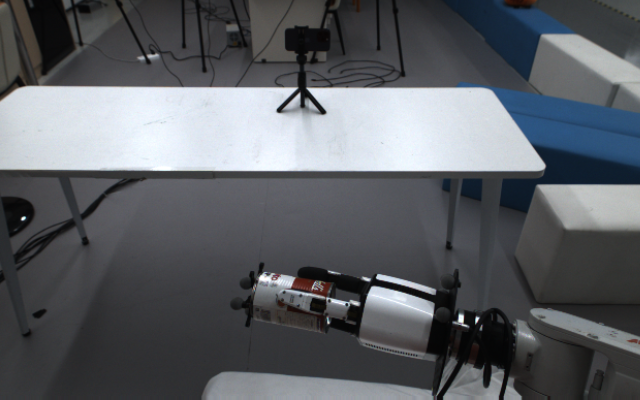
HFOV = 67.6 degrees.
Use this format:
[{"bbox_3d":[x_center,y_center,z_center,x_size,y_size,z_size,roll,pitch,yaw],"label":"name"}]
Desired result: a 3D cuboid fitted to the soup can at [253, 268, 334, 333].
[{"bbox_3d":[-0.032,0.137,0.650,0.101,0.067,0.067,7,35,10],"label":"soup can"}]
